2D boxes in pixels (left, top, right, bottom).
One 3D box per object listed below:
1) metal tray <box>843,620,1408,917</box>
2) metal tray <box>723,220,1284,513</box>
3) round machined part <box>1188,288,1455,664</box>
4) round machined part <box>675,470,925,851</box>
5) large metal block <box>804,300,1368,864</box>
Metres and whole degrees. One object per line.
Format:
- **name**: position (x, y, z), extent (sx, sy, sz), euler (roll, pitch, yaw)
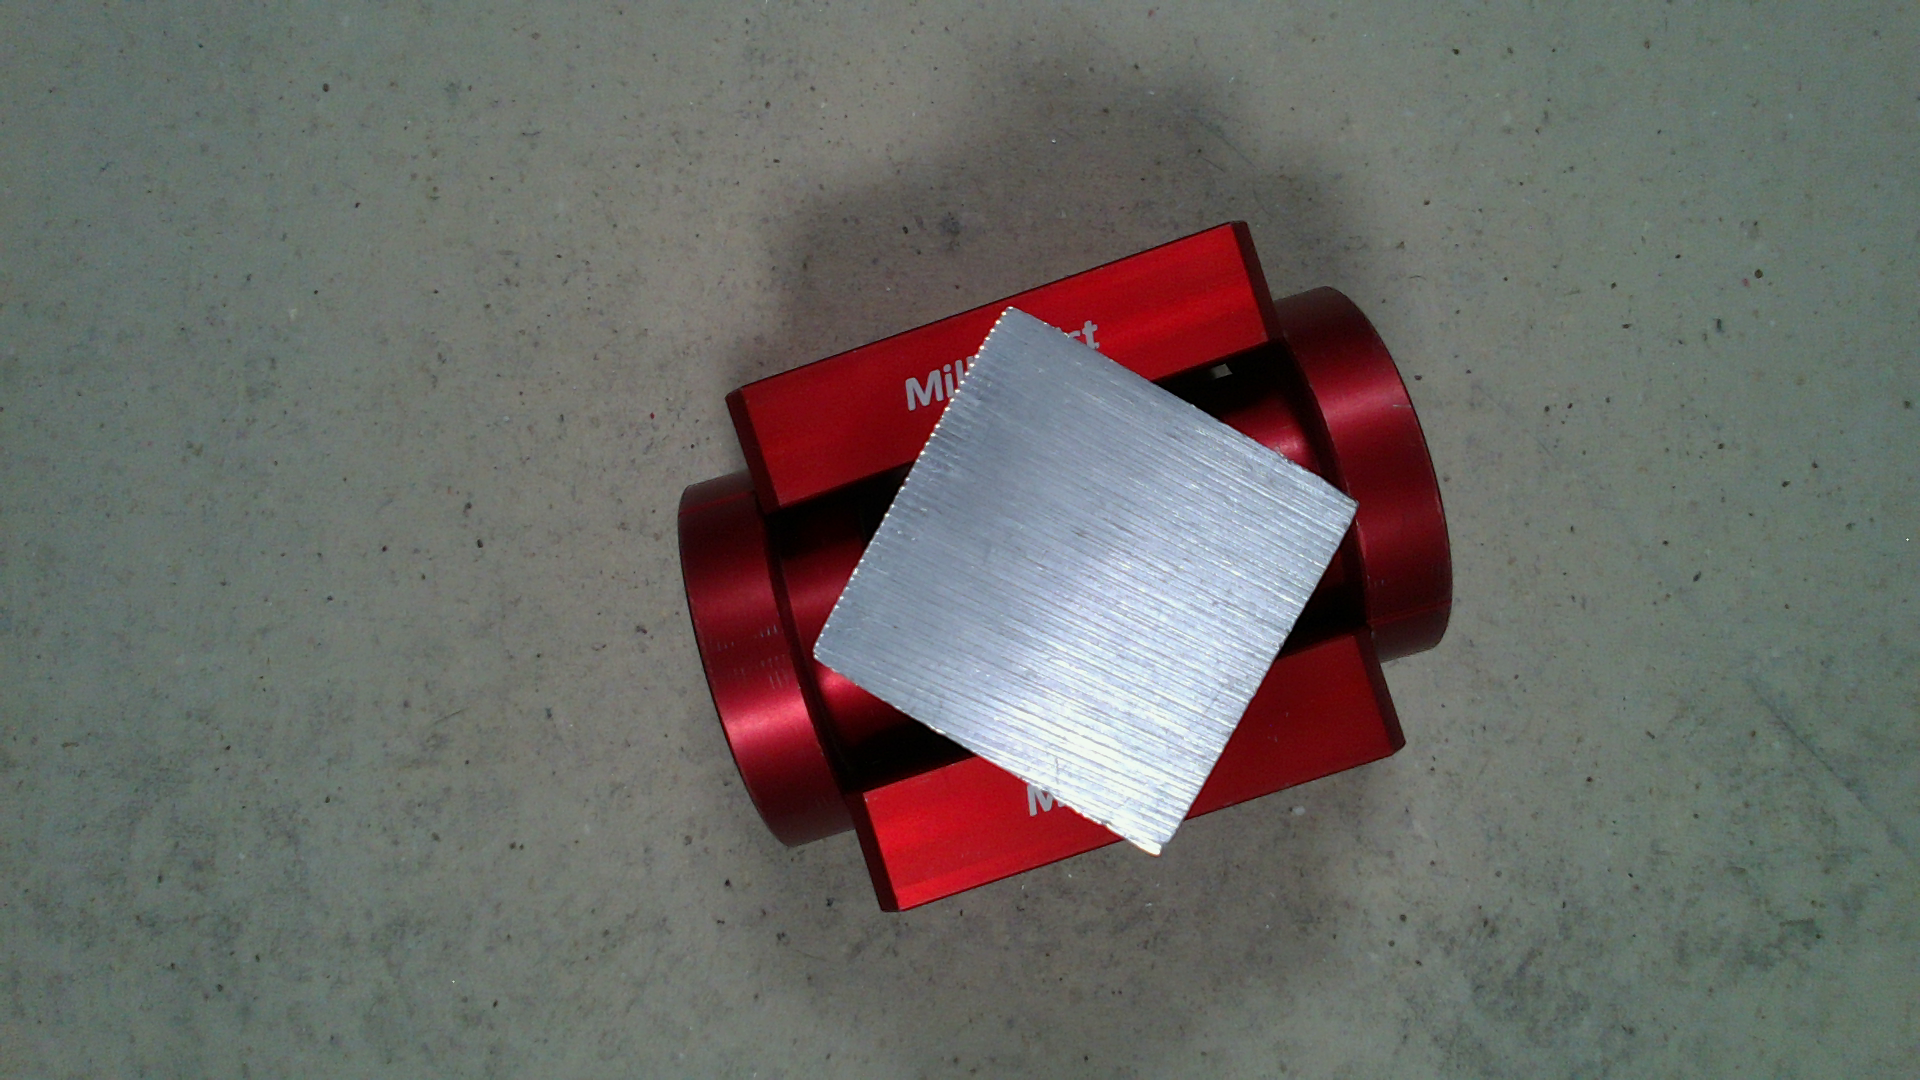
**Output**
- **metal tray**: position (0.039, 0.054, 0.362), extent (0.130, 0.090, 0.030), euler (-18, 90, 0)
- **metal tray**: position (0.010, -0.041, 0.364), extent (0.130, 0.090, 0.030), euler (-18, 90, 0)
- **round machined part**: position (0.088, -0.013, 0.359), extent (0.042, 0.098, 0.098), euler (-16, 90, 0)
- **round machined part**: position (-0.038, 0.027, 0.359), extent (0.042, 0.098, 0.098), euler (-16, 90, 0)
- **large metal block**: position (0.025, 0.008, 0.291), extent (0.080, 0.050, 0.080), euler (30, 90, 0)
